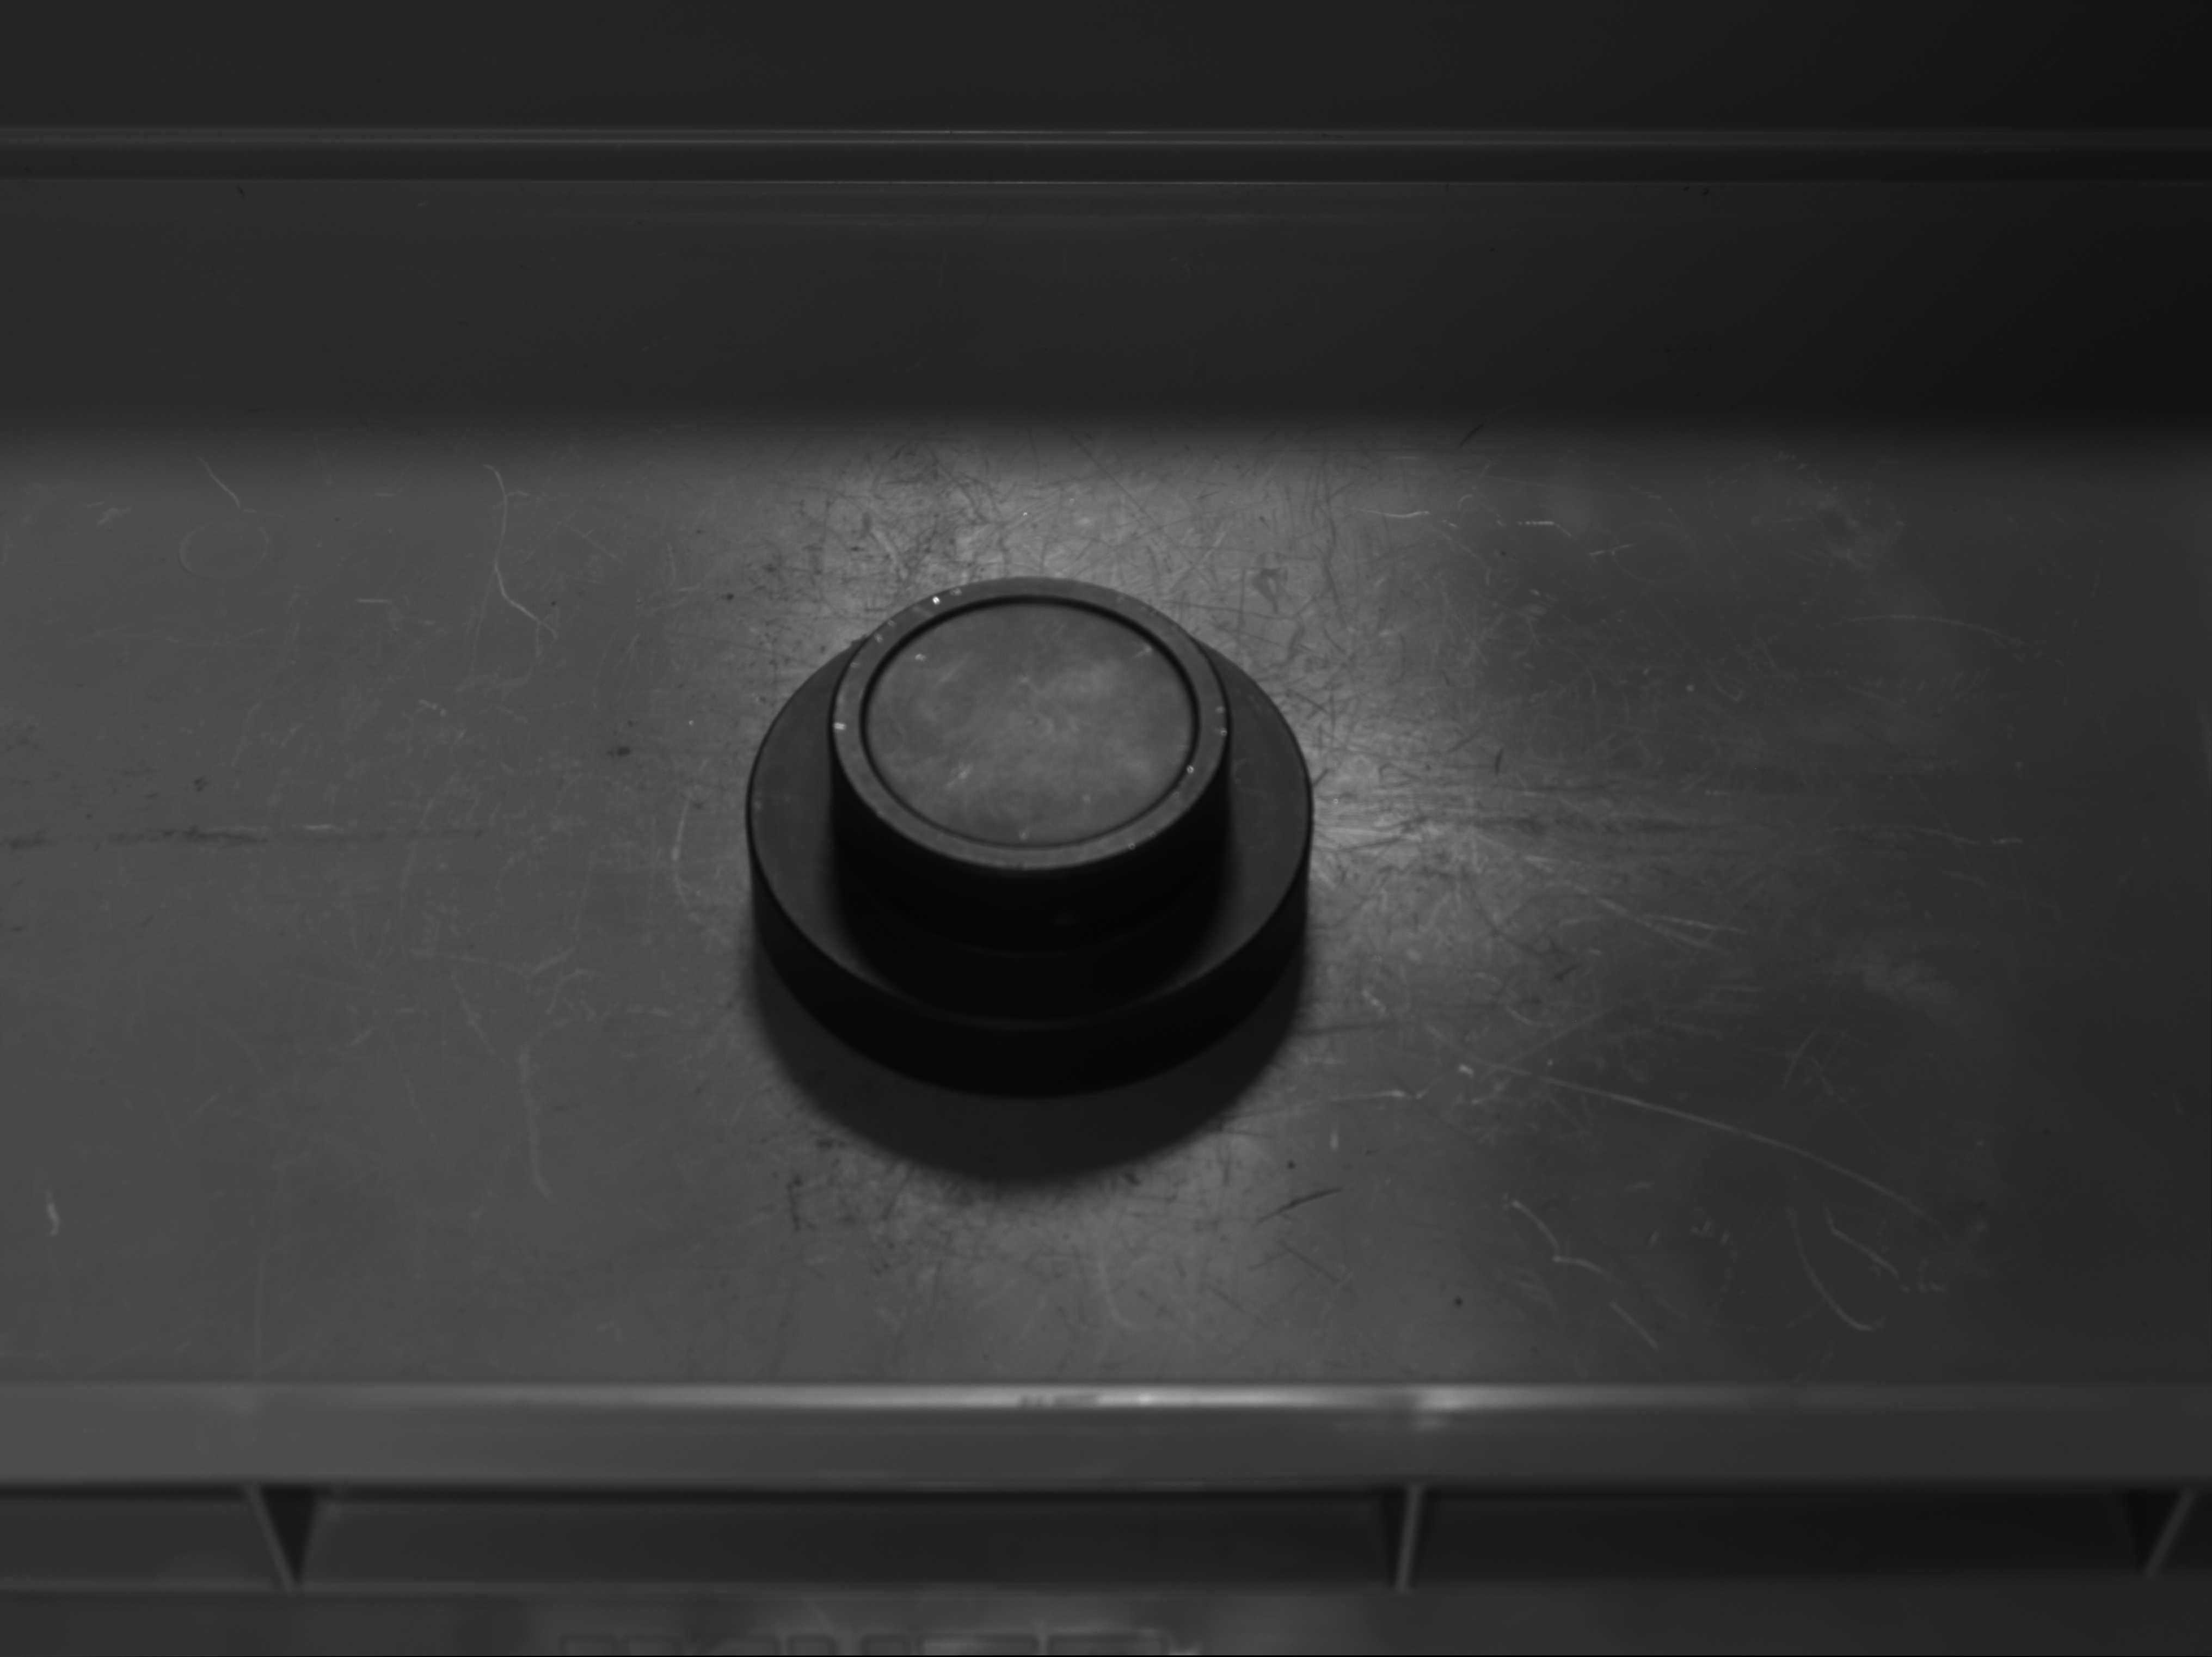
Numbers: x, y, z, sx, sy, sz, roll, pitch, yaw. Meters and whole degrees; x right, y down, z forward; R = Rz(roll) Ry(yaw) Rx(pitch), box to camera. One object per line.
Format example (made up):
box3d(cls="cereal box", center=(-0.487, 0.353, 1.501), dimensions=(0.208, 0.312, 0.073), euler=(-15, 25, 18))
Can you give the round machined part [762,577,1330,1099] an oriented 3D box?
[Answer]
box3d(cls="round machined part", center=(-0.010, -0.005, 0.631), dimensions=(0.098, 0.042, 0.098), euler=(0, 50, 0))
